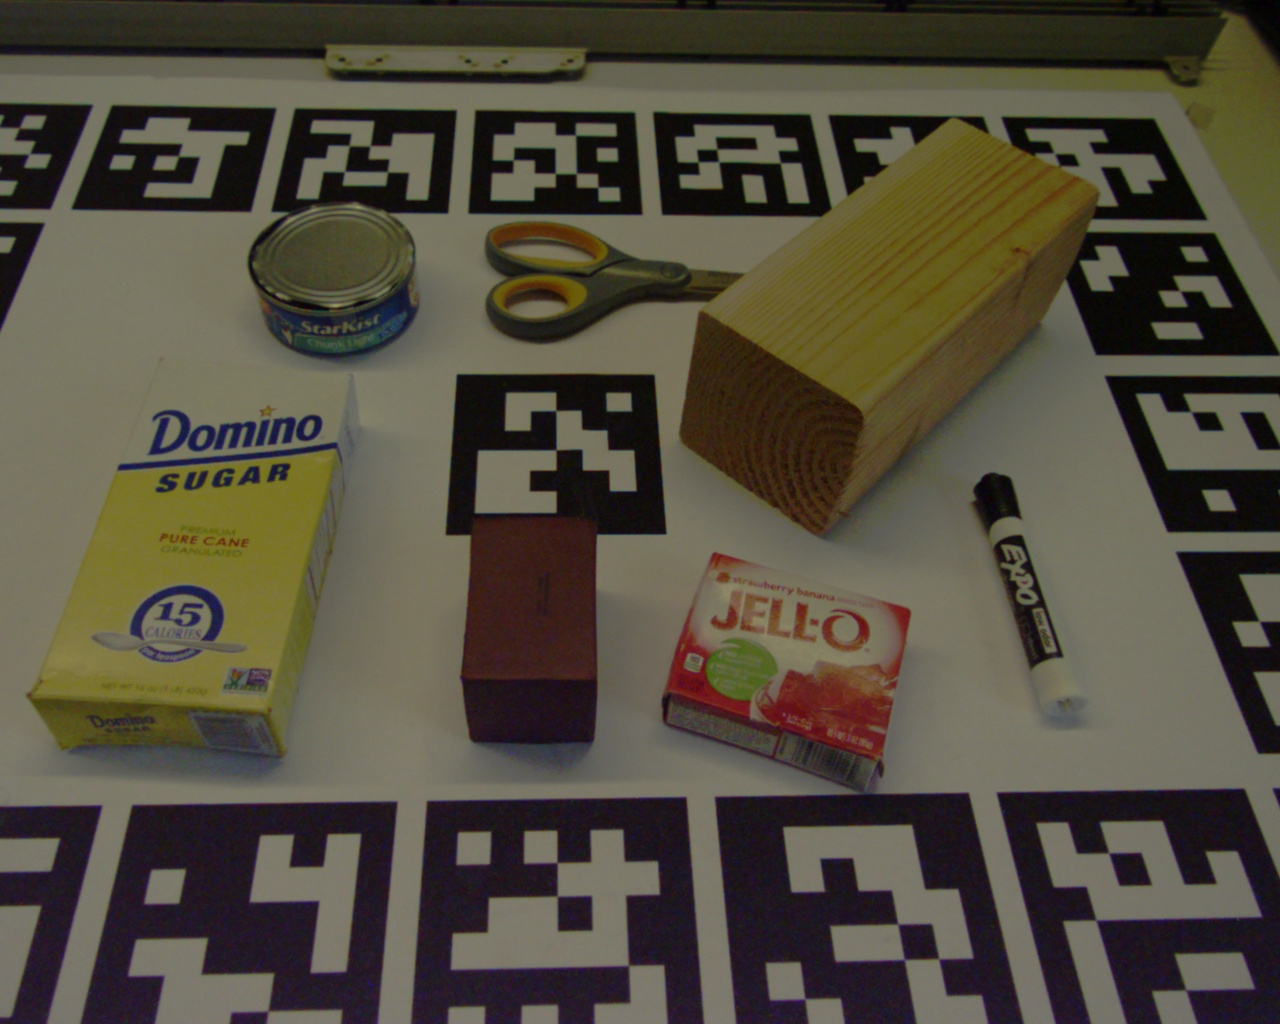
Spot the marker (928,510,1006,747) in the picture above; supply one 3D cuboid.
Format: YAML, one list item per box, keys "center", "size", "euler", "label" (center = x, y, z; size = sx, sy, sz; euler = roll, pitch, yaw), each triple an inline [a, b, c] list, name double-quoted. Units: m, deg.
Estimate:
- center: [0.154, 0.051, 0.541]
  size: [0.019, 0.019, 0.121]
  euler: [2, 57, -2]
  label: "marker"

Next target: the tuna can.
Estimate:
- center: [-0.177, -0.112, 0.634]
  size: [0.085, 0.033, 0.086]
  euler: [1, 55, -2]
  label: "tuna can"

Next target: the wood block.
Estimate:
- center: [0.115, -0.077, 0.594]
  size: [0.091, 0.091, 0.205]
  euler: [38, 61, 22]
  label: "wood block"

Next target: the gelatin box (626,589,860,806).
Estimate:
- center: [0.046, 0.081, 0.512]
  size: [0.090, 0.030, 0.073]
  euler: [16, 56, 9]
  label: "gelatin box"

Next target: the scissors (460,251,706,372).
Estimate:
- center: [-0.005, -0.111, 0.655]
  size: [0.203, 0.016, 0.088]
  euler: [6, 55, 4]
  label: "scissors"

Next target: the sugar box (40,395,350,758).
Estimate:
- center: [-0.199, 0.025, 0.534]
  size: [0.093, 0.045, 0.177]
  euler: [4, 55, 0]
  label: "sugar box"

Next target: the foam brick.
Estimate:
- center: [-0.057, 0.064, 0.502]
  size: [0.053, 0.051, 0.078]
  euler: [2, 55, -1]
  label: "foam brick"
